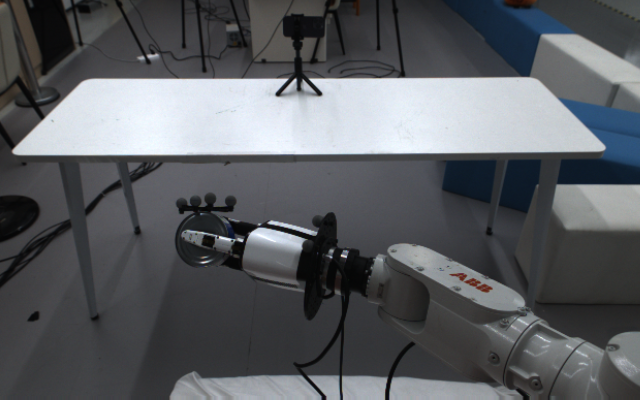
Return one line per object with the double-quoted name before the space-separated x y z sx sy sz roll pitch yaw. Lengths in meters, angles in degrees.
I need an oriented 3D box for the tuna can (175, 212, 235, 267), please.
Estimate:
"tuna can" -0.169 0.064 0.742 0.085 0.085 0.034 9 -7 11
